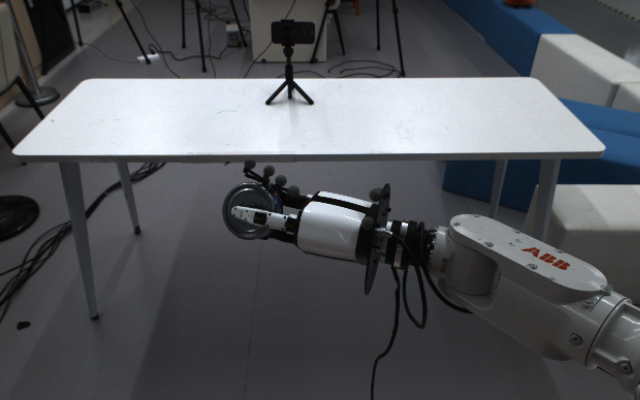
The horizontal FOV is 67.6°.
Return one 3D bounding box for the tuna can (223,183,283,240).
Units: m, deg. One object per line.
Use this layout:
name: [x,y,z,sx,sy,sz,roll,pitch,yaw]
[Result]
tuna can: [-0.097,0.023,0.713,0.085,0.085,0.034,12,4,14]
